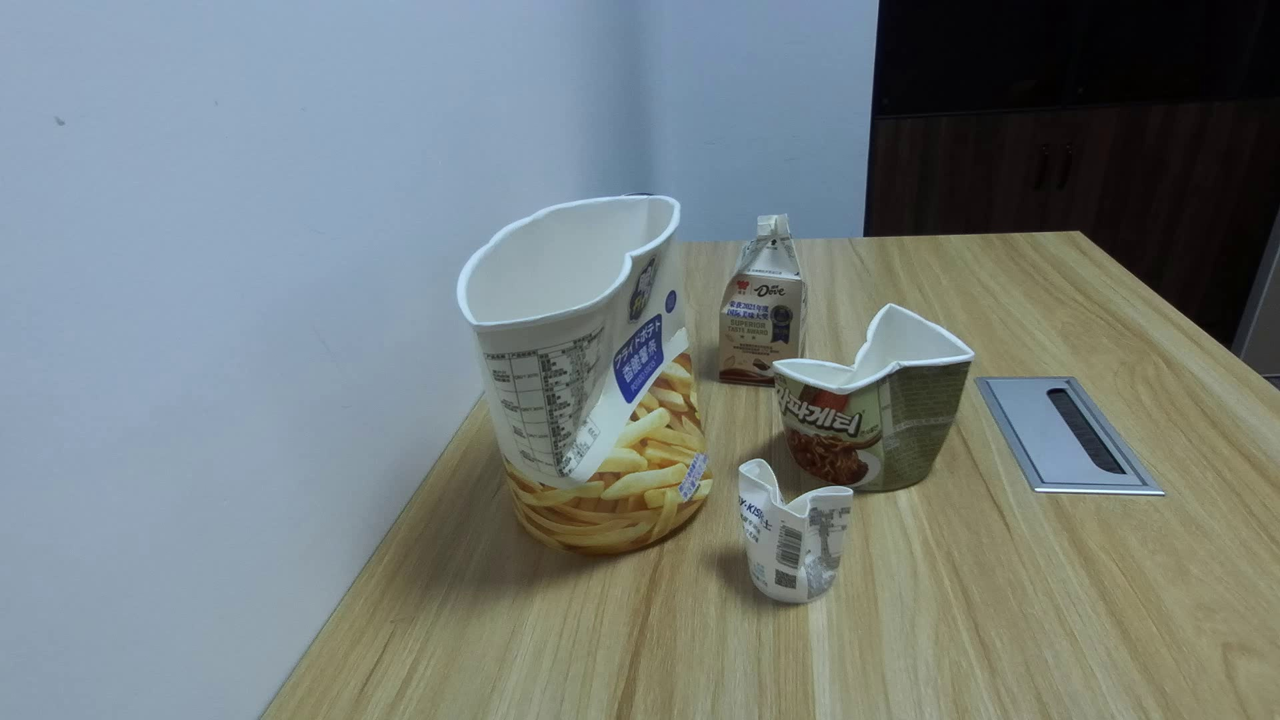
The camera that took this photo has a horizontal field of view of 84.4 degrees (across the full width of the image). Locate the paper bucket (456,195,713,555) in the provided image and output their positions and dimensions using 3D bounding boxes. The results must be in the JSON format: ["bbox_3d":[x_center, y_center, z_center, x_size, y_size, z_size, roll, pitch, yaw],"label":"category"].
[{"bbox_3d":[-0.026,0.007,0.479,0.148,0.199,0.217,-8,27,-7],"label":"paper bucket"}]

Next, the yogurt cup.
[{"bbox_3d":[0.089,0.099,0.415,0.055,0.072,0.054,-19,32,-19],"label":"yogurt cup"}]

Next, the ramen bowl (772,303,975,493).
[{"bbox_3d":[0.158,0.028,0.517,0.128,0.093,0.111,-14,29,-14],"label":"ramen bowl"}]

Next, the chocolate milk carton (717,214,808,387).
[{"bbox_3d":[0.113,-0.059,0.630,0.073,0.156,0.076,6,27,16],"label":"chocolate milk carton"}]
